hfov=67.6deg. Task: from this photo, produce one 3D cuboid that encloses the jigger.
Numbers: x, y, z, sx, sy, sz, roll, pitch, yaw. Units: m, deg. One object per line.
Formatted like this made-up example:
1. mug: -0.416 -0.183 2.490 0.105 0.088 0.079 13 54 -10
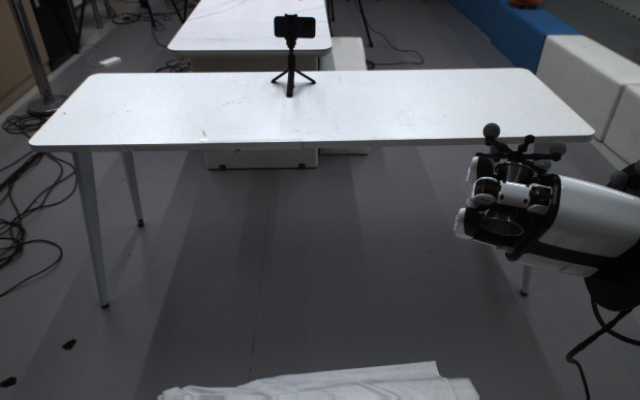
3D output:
1. jigger: 0.201 -0.002 0.517 0.043 0.043 0.071 13 73 15
